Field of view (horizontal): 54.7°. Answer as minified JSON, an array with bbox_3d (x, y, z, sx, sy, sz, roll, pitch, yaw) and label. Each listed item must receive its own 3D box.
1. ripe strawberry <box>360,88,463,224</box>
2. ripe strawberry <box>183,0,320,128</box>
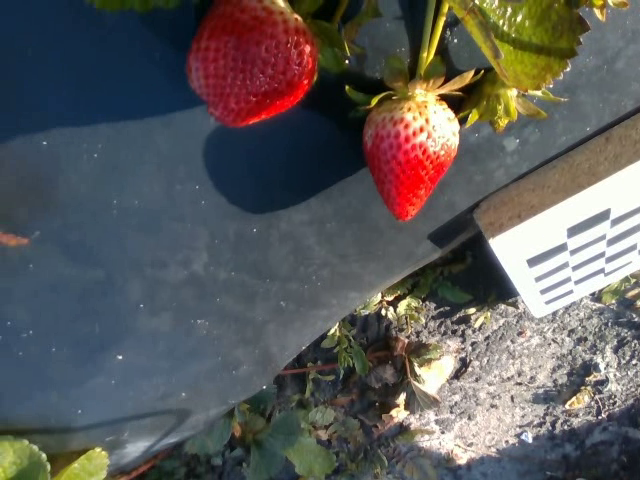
[{"bbox_3d":[0.036,-0.030,0.235,0.043,0.053,0.038,-9,20,-27],"label":"ripe strawberry"},{"bbox_3d":[-0.021,-0.061,0.209,0.039,0.054,0.048,41,-14,24],"label":"ripe strawberry"}]
